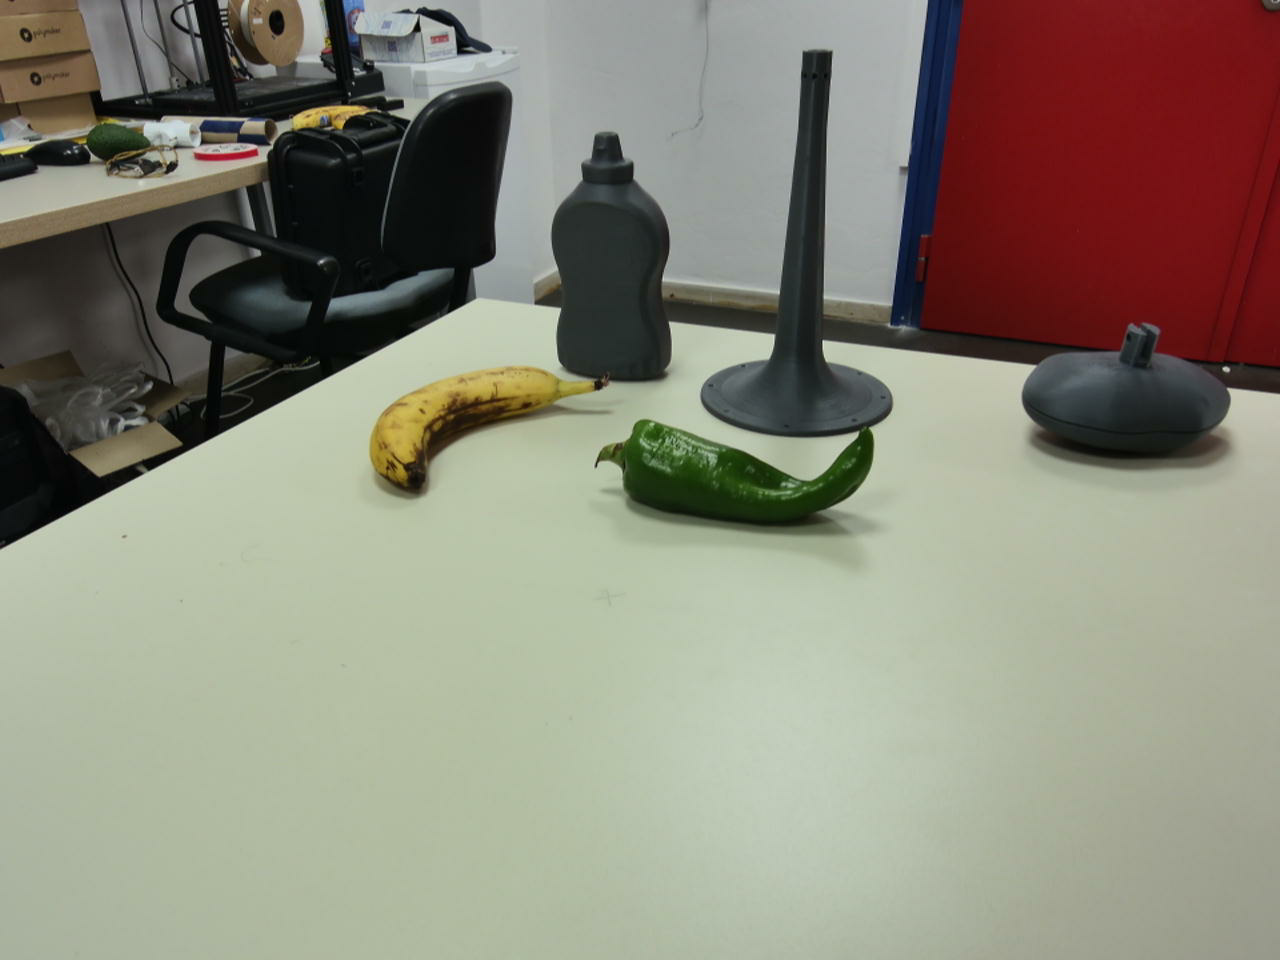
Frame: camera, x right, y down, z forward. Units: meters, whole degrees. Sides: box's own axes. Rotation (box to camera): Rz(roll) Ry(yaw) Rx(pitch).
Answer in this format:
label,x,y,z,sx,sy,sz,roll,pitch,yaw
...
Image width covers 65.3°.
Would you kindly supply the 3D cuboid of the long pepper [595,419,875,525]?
label,x,y,z,sx,sy,sz,roll,pitch,yaw
long pepper,0.053,-0.010,0.617,0.175,0.065,0.058,10,28,20
